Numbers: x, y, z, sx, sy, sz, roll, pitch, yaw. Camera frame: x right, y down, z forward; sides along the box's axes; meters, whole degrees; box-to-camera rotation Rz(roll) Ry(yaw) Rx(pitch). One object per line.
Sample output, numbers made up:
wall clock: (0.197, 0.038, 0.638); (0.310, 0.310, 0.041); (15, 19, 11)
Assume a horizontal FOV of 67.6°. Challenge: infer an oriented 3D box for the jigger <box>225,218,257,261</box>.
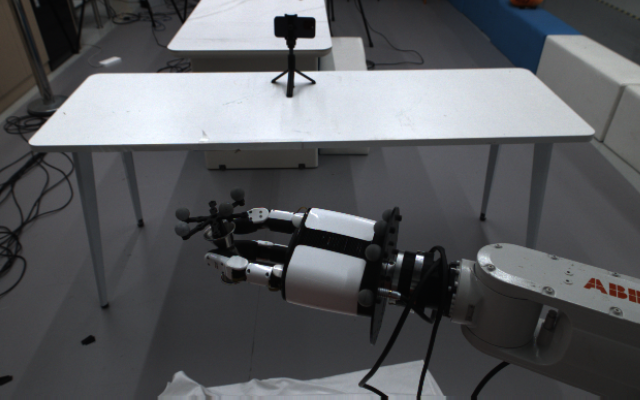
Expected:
jigger: (-0.111, 0.065, 0.599); (0.043, 0.071, 0.043); (-12, 29, 7)
